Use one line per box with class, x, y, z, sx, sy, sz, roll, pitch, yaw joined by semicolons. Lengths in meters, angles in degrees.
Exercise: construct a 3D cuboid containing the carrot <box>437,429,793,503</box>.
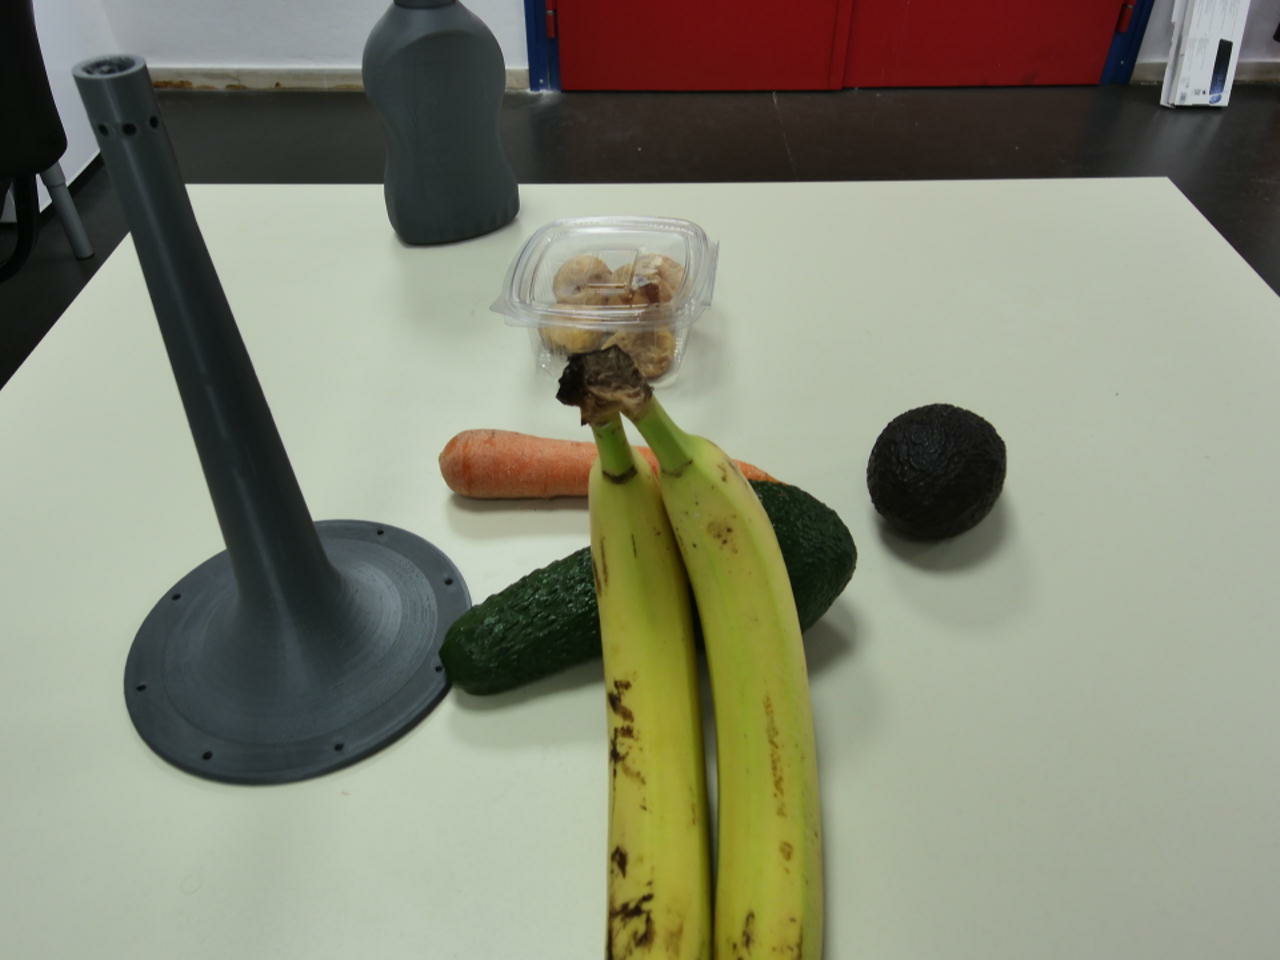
carrot;-0.012;-0.008;0.552;0.196;0.041;0.039;1;39;0
